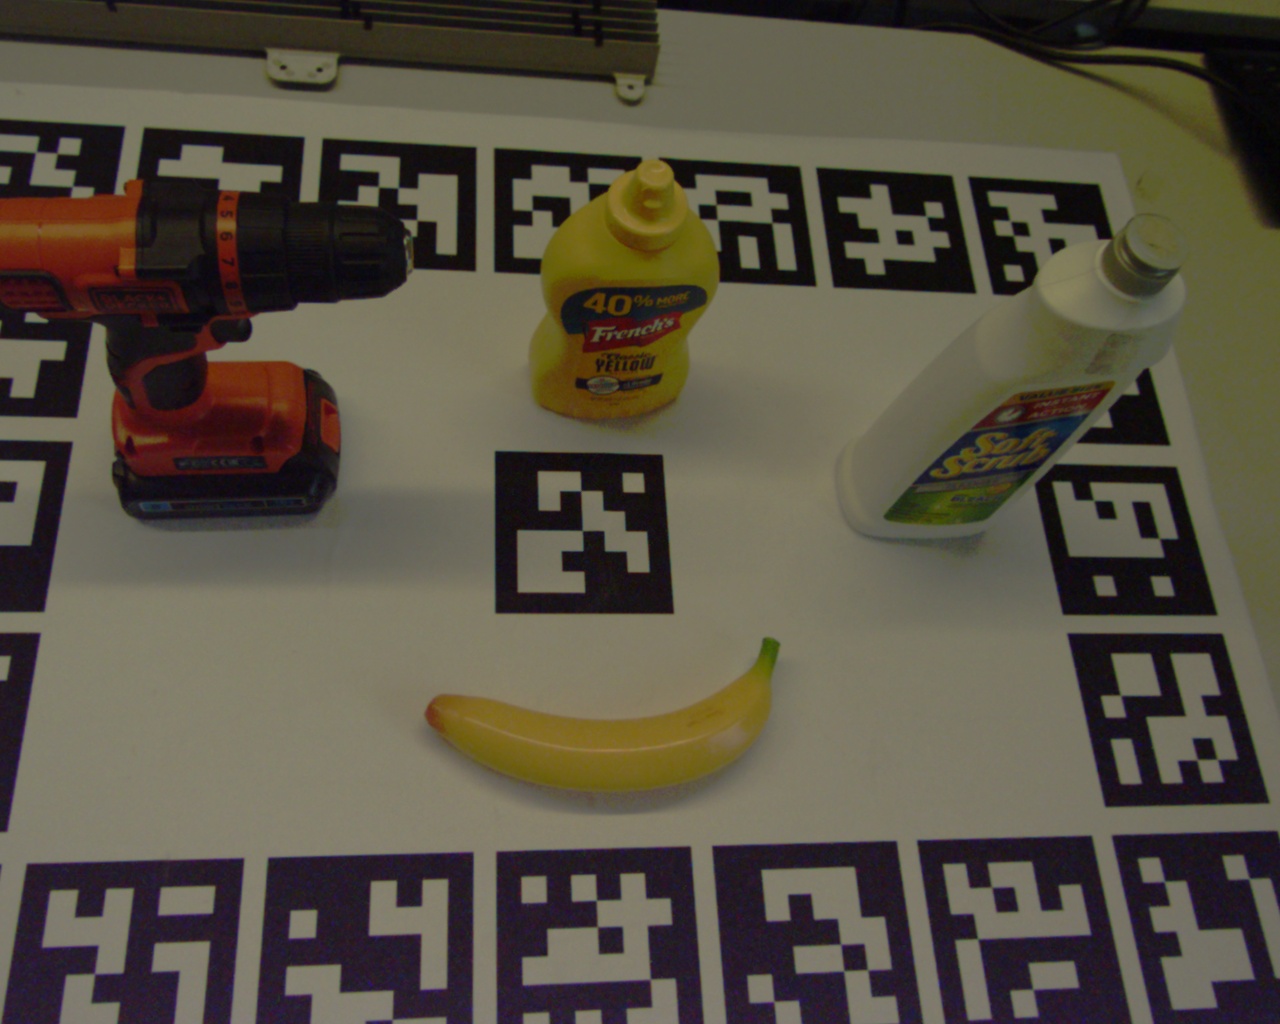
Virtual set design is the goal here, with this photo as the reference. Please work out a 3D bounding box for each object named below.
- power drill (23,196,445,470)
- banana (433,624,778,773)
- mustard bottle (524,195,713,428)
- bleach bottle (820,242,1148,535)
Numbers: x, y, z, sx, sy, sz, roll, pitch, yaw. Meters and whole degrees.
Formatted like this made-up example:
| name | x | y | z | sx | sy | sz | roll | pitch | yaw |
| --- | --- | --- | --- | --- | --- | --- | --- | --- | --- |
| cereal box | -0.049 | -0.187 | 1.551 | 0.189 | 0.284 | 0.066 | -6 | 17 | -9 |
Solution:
| name | x | y | z | sx | sy | sz | roll | pitch | yaw |
| --- | --- | --- | --- | --- | --- | --- | --- | --- | --- |
| power drill | -0.188 | -0.088 | 0.581 | 0.184 | 0.187 | 0.057 | -5 | 68 | -8 |
| banana | -0.014 | 0.107 | 0.630 | 0.196 | 0.039 | 0.074 | -5 | 70 | -8 |
| mustard bottle | -0.010 | -0.115 | 0.655 | 0.095 | 0.192 | 0.059 | -6 | 68 | -14 |
| bleach bottle | 0.187 | -0.064 | 0.629 | 0.102 | 0.251 | 0.068 | 9 | 66 | -7 |
